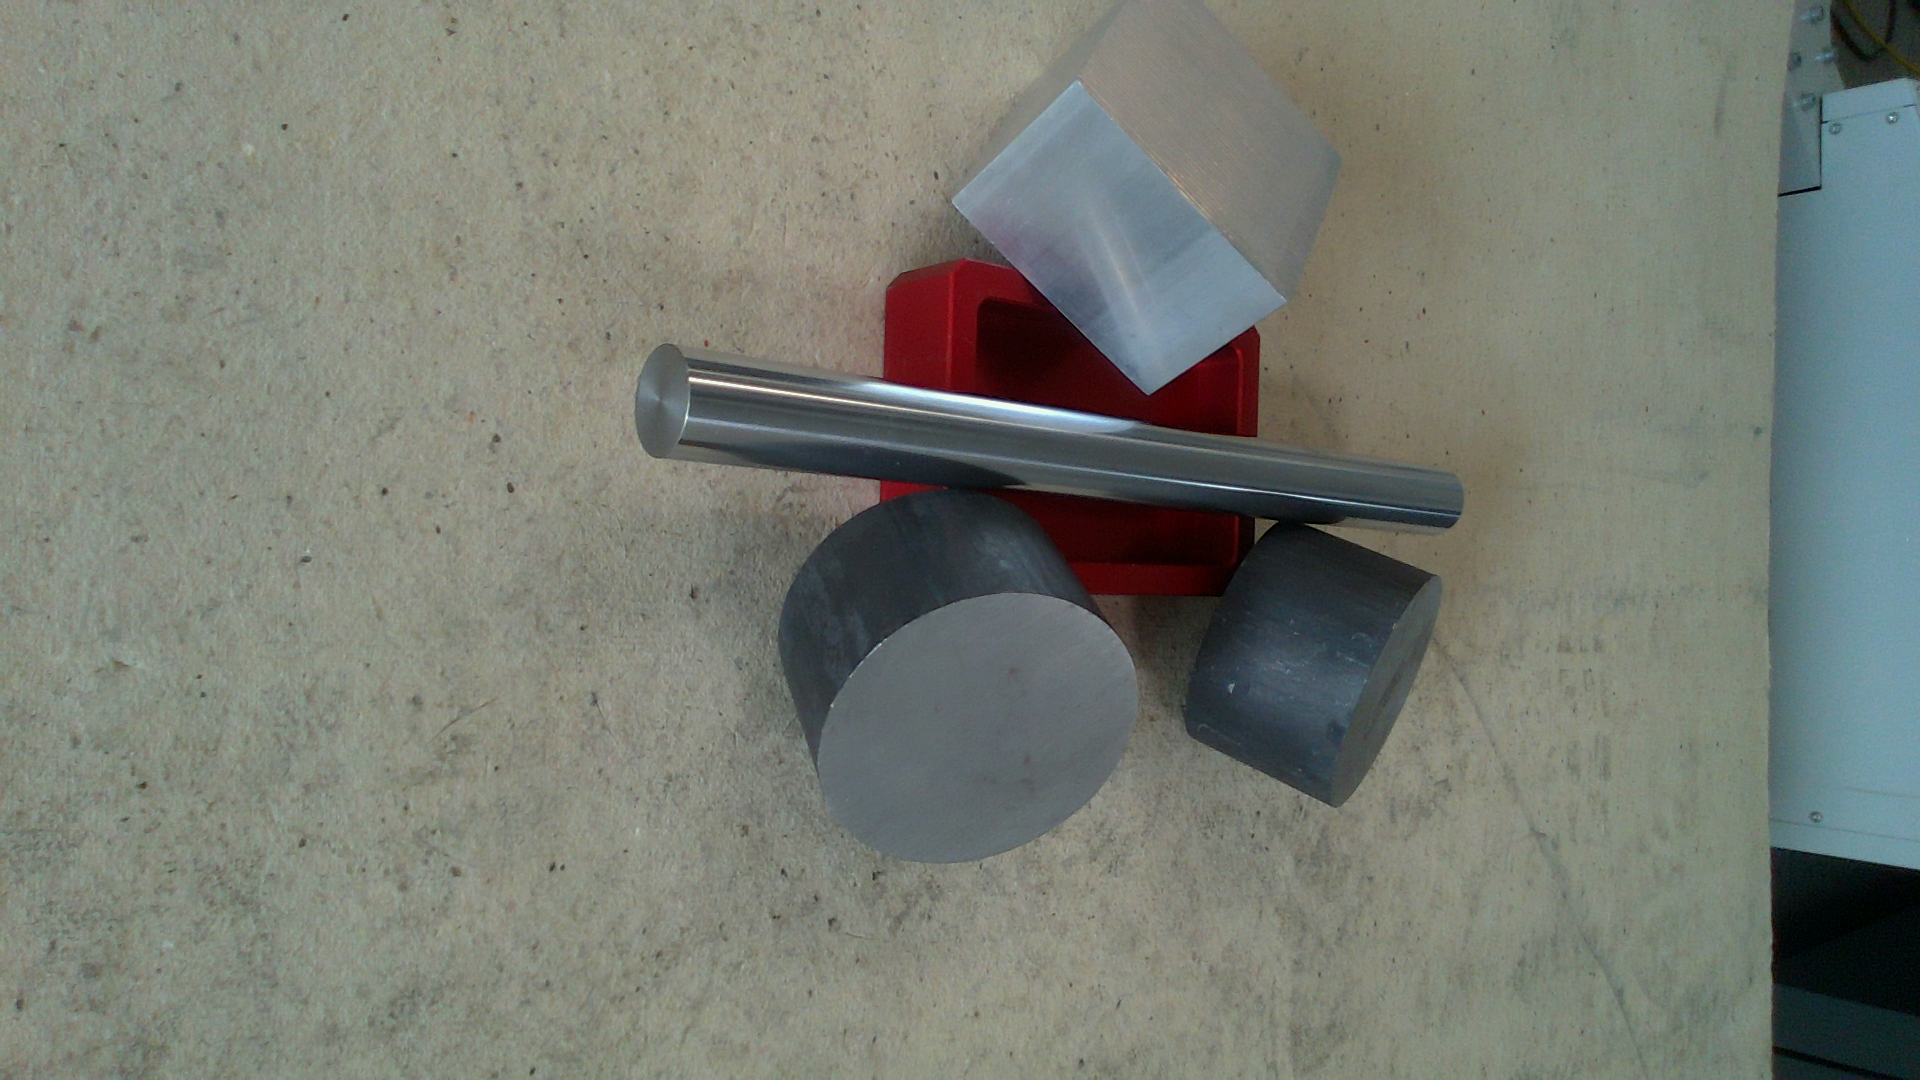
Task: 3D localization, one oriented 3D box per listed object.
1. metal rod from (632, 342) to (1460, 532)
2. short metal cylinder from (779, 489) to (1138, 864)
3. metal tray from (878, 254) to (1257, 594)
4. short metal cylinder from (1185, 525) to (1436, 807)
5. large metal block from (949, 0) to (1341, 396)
[{"bbox_3d":[0.051,-0.022,0.392,0.301,0.025,0.025,4,88,-40],"label":"metal rod"},{"bbox_3d":[-0.002,0.034,0.347,0.080,0.050,0.080,-9,122,-14],"label":"short metal cylinder"},{"bbox_3d":[0.037,-0.030,0.417,0.131,0.030,0.090,2,88,-40],"label":"metal tray"},{"bbox_3d":[0.115,0.039,0.447,0.080,0.050,0.080,-41,143,-39],"label":"short metal cylinder"},{"bbox_3d":[0.055,-0.103,0.391,0.080,0.050,0.080,42,47,-14],"label":"large metal block"}]
